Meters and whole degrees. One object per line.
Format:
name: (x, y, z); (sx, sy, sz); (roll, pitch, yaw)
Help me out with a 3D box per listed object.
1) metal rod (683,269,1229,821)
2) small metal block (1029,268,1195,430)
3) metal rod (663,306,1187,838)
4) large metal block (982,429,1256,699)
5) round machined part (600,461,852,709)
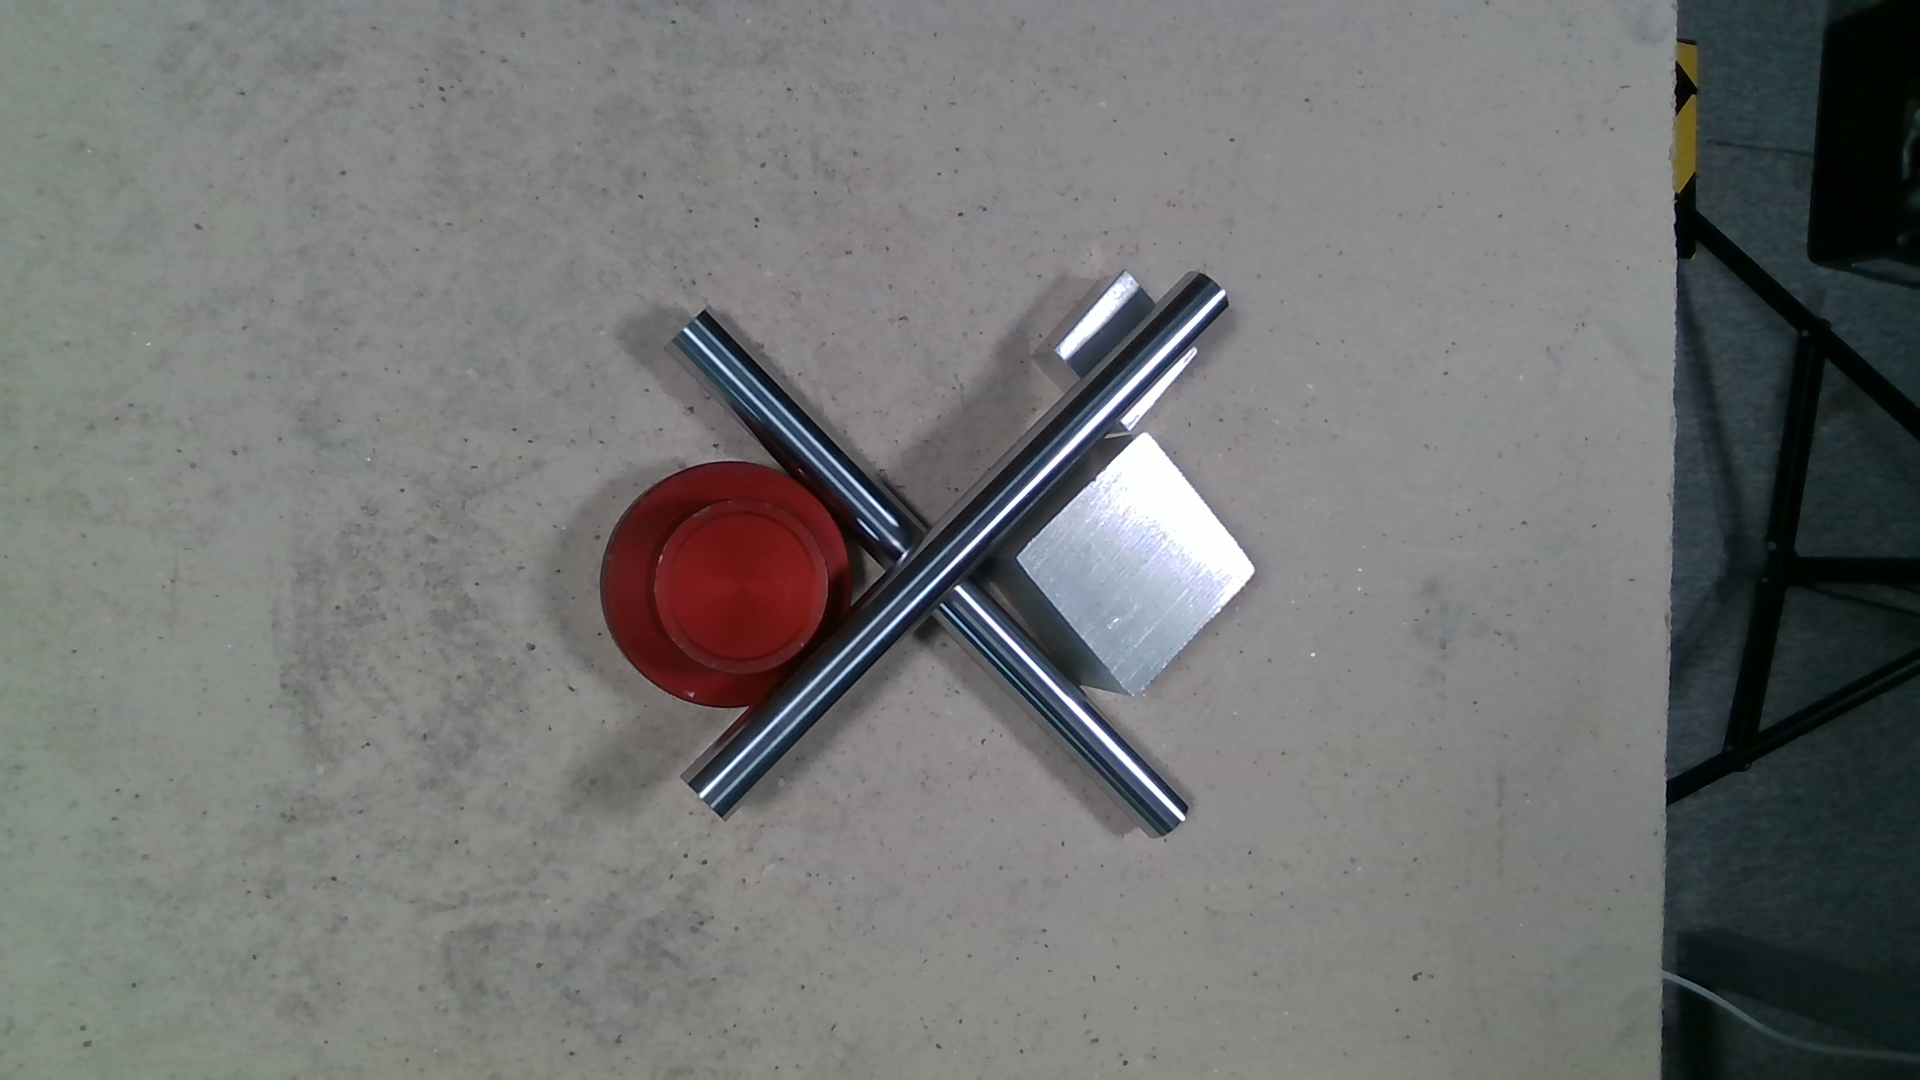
metal rod: (0.005, -0.005, 0.561); (0.300, 0.025, 0.025); (-45, 104, -14)
small metal block: (0.068, -0.083, 0.612); (0.050, 0.025, 0.050); (45, 76, -15)
metal rod: (-0.008, 0.020, 0.585); (0.300, 0.025, 0.025); (46, 76, -15)
large metal block: (0.066, 0.010, 0.599); (0.080, 0.050, 0.080); (-44, 104, -15)
round machined part: (-0.090, 0.018, 0.543); (0.098, 0.042, 0.098); (0, 90, -20)
